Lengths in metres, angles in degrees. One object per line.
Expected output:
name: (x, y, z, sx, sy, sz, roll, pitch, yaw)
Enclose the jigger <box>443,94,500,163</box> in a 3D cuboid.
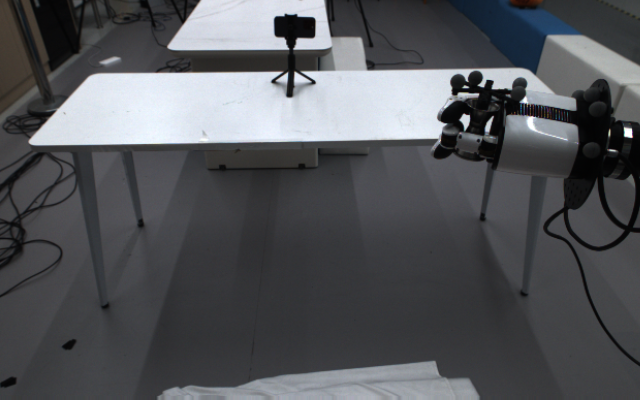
jigger: (0.203, -0.091, 0.623, 0.043, 0.071, 0.043, 4, 31, -2)
